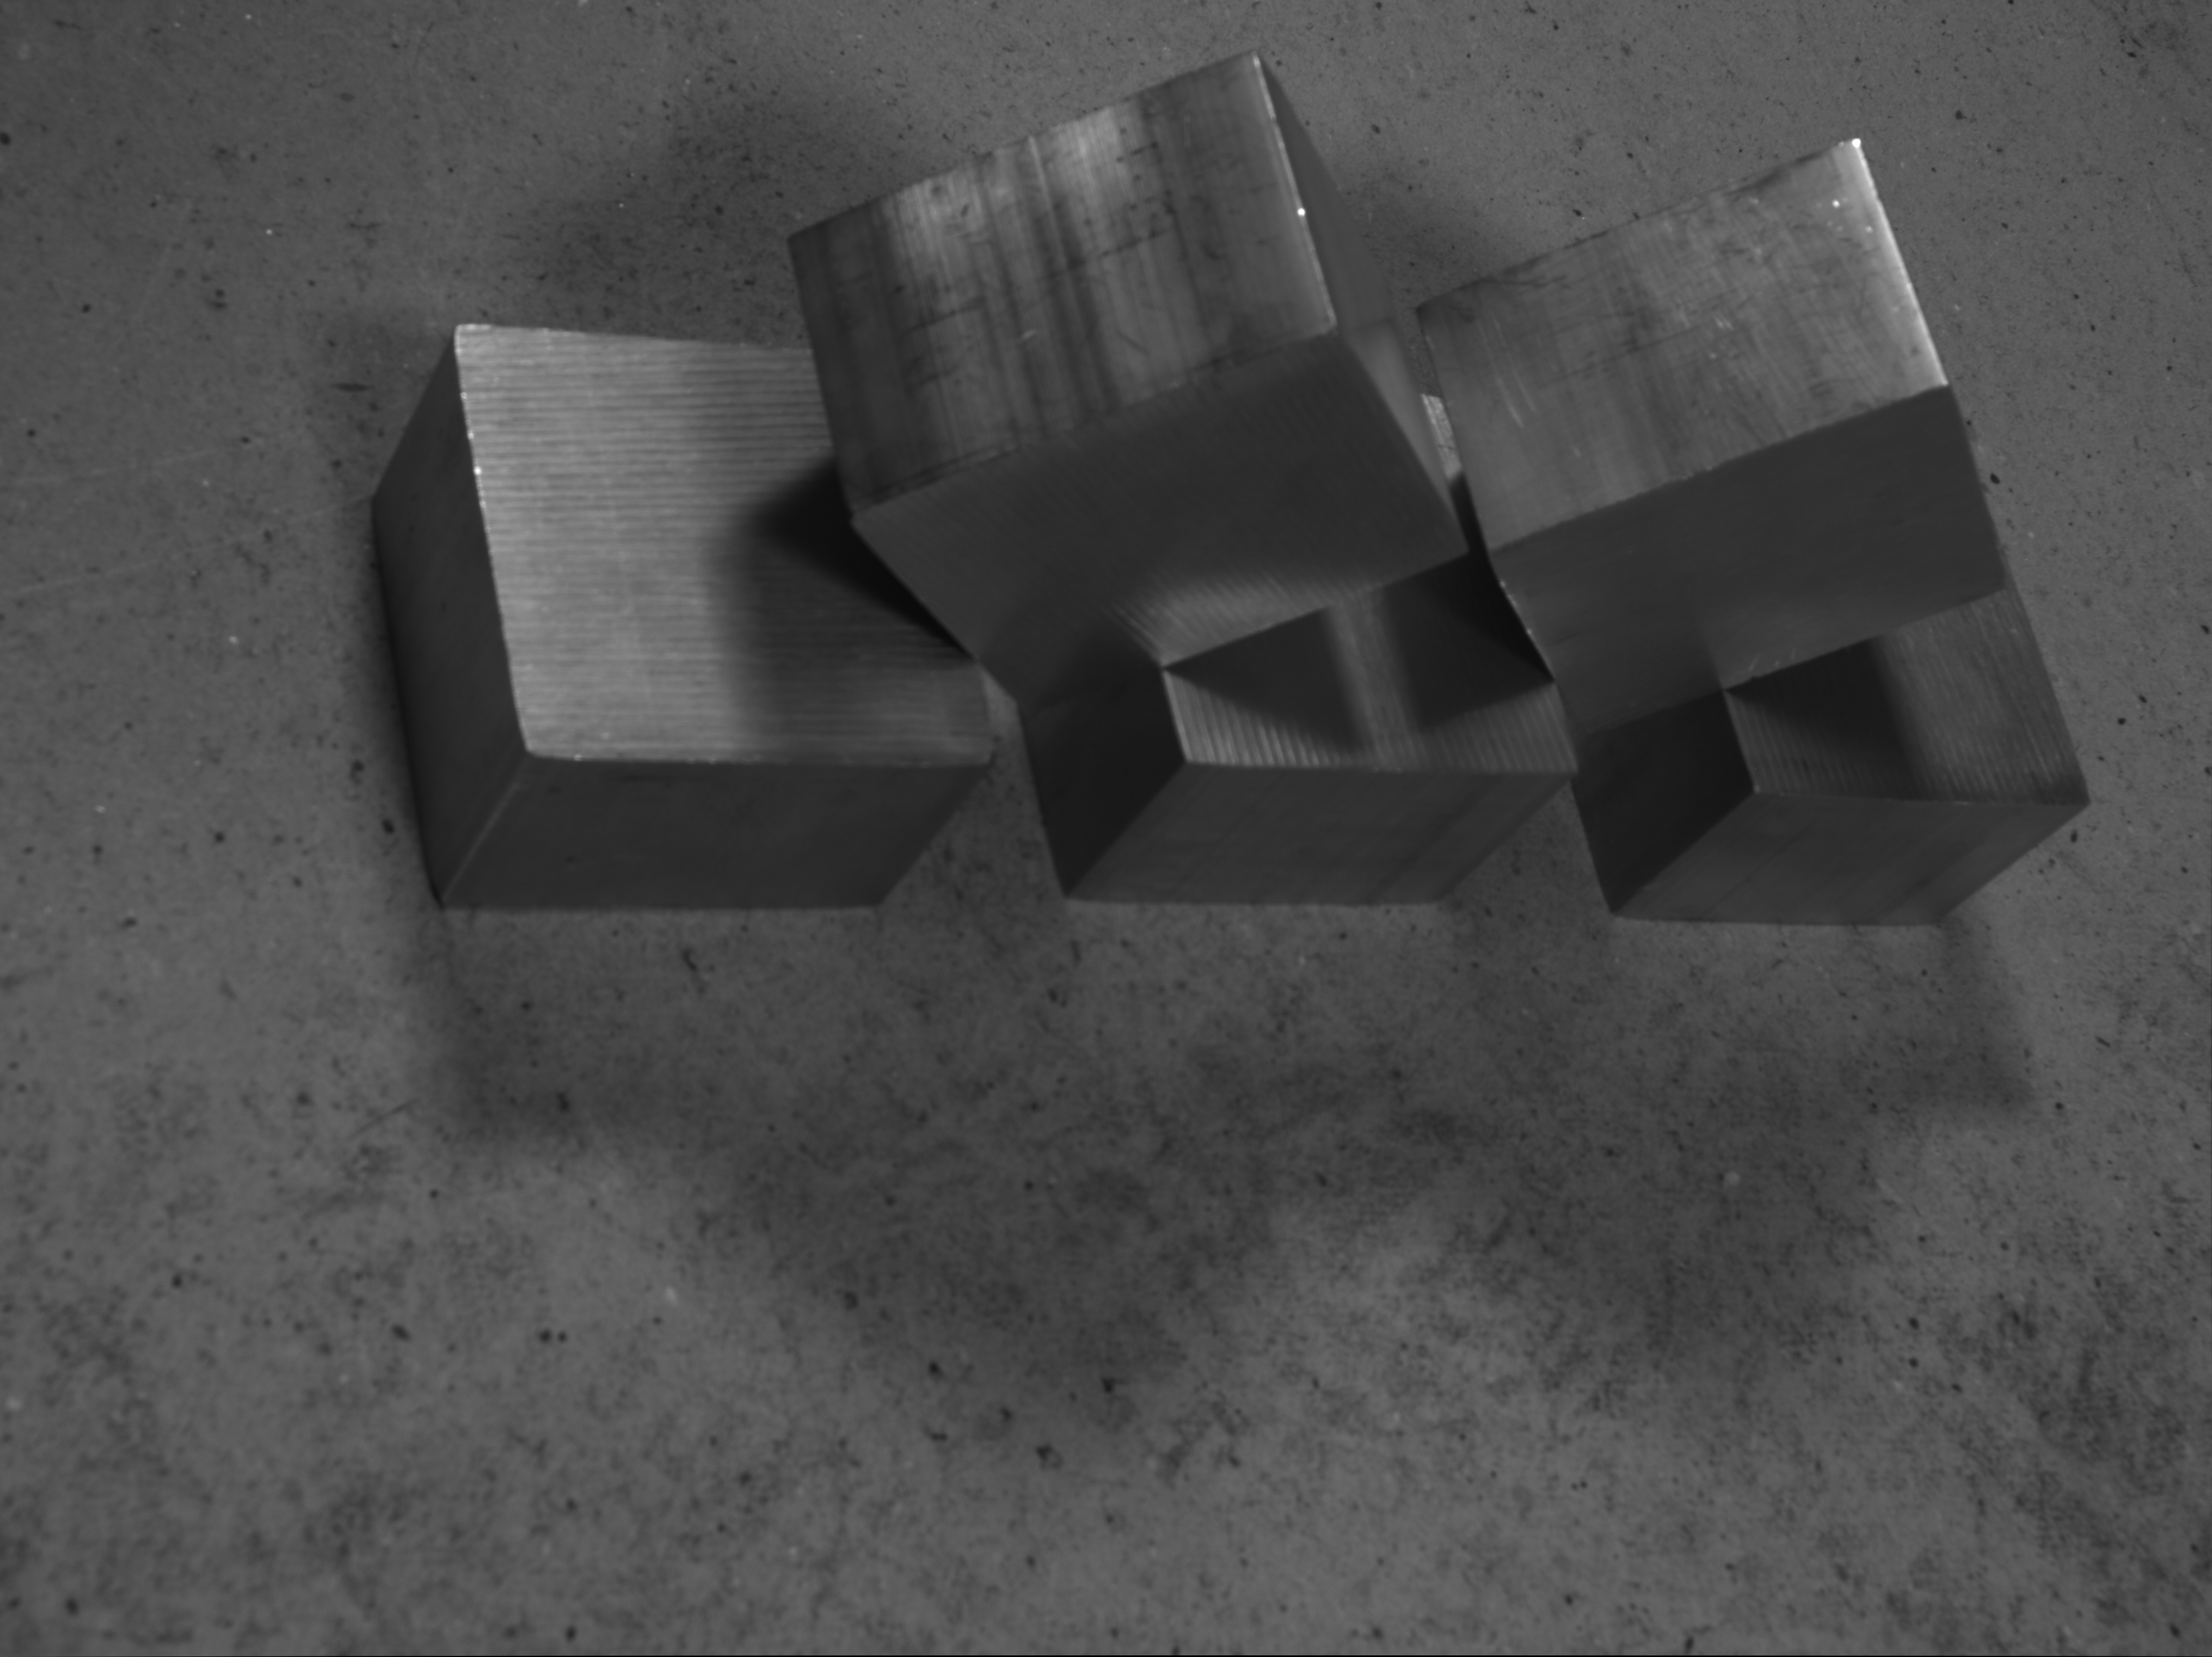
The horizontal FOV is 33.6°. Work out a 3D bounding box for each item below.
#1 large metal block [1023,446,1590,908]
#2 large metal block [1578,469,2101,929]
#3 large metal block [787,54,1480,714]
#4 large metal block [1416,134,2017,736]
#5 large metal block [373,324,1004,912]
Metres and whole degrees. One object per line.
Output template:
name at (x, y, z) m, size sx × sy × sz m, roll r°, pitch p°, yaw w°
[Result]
large metal block at (0.031, -0.033, 0.661) m, size 0.080 × 0.050 × 0.080 m, roll 1°, pitch 61°, yaw -28°
large metal block at (0.135, -0.028, 0.714) m, size 0.080 × 0.050 × 0.080 m, roll 2°, pitch 61°, yaw -27°
large metal block at (0.006, -0.068, 0.585) m, size 0.080 × 0.080 × 0.050 m, roll 45°, pitch 28°, yaw -62°
large metal block at (0.108, -0.066, 0.642) m, size 0.080 × 0.080 × 0.050 m, roll -19°, pitch 63°, yaw 12°
large metal block at (-0.071, -0.033, 0.607) m, size 0.080 × 0.050 × 0.080 m, roll 0°, pitch 61°, yaw -28°
